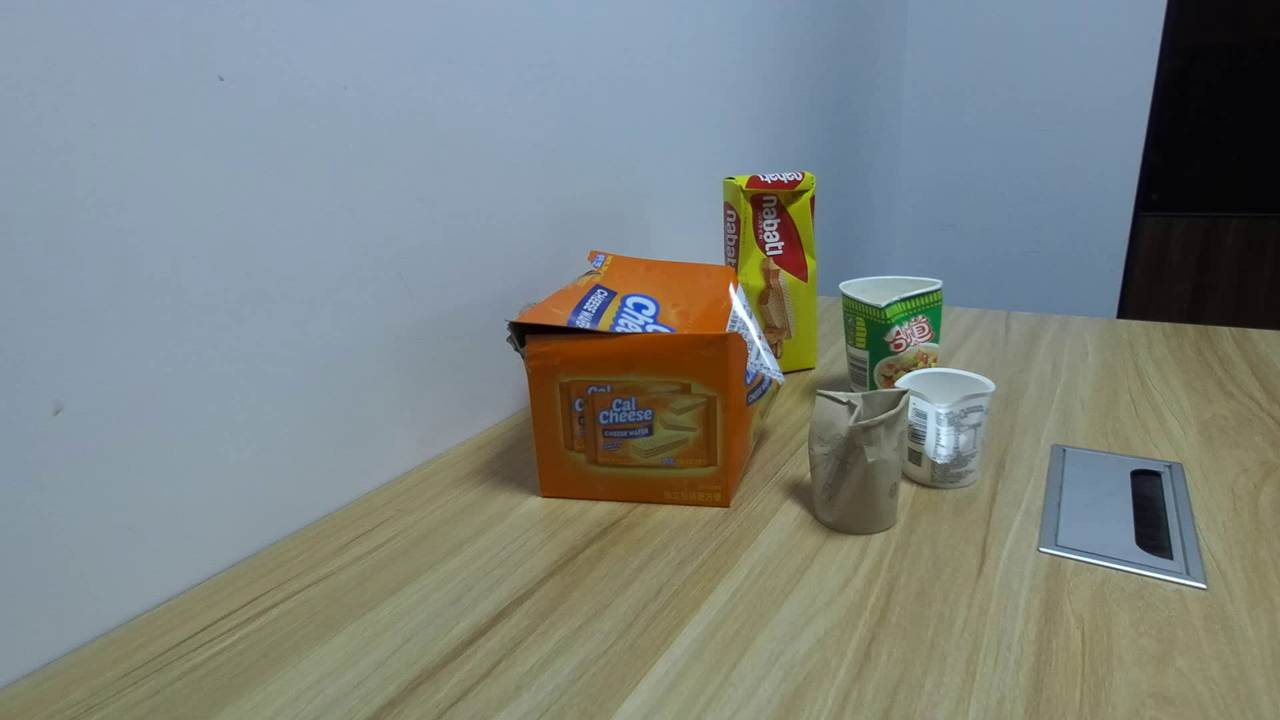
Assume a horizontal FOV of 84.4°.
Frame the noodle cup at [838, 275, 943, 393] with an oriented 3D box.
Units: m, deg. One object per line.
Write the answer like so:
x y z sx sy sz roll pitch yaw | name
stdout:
0.225 -0.015 0.636 0.094 0.109 0.086 -10 23 -16 | noodle cup

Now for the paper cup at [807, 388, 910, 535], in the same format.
0.140 0.064 0.466 0.058 0.083 0.067 7 21 32 | paper cup

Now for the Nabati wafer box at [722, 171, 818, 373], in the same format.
0.134 -0.085 0.717 0.097 0.203 0.042 -8 17 -16 | Nabati wafer box

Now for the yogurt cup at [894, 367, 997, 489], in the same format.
0.219 0.049 0.516 0.067 0.070 0.067 -3 17 1 | yogurt cup

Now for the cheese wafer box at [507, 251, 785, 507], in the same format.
0.021 0.001 0.580 0.191 0.145 0.219 0 19 11 | cheese wafer box
